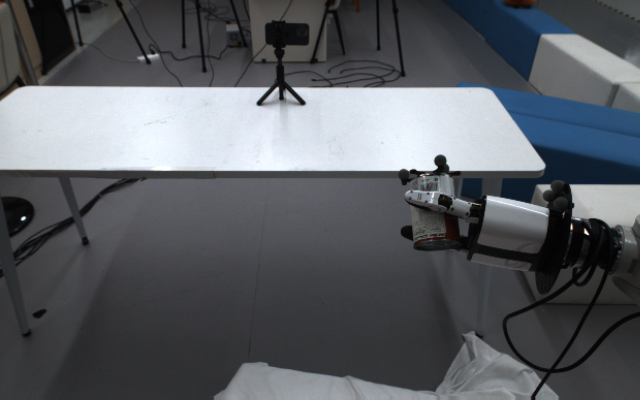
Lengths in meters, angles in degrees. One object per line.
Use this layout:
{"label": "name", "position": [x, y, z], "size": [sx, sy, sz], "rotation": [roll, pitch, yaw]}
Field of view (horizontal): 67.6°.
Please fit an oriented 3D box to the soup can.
{"label": "soup can", "position": [0.167, 0.016, 0.710], "size": [0.067, 0.067, 0.101], "rotation": [0, 72, -4]}
